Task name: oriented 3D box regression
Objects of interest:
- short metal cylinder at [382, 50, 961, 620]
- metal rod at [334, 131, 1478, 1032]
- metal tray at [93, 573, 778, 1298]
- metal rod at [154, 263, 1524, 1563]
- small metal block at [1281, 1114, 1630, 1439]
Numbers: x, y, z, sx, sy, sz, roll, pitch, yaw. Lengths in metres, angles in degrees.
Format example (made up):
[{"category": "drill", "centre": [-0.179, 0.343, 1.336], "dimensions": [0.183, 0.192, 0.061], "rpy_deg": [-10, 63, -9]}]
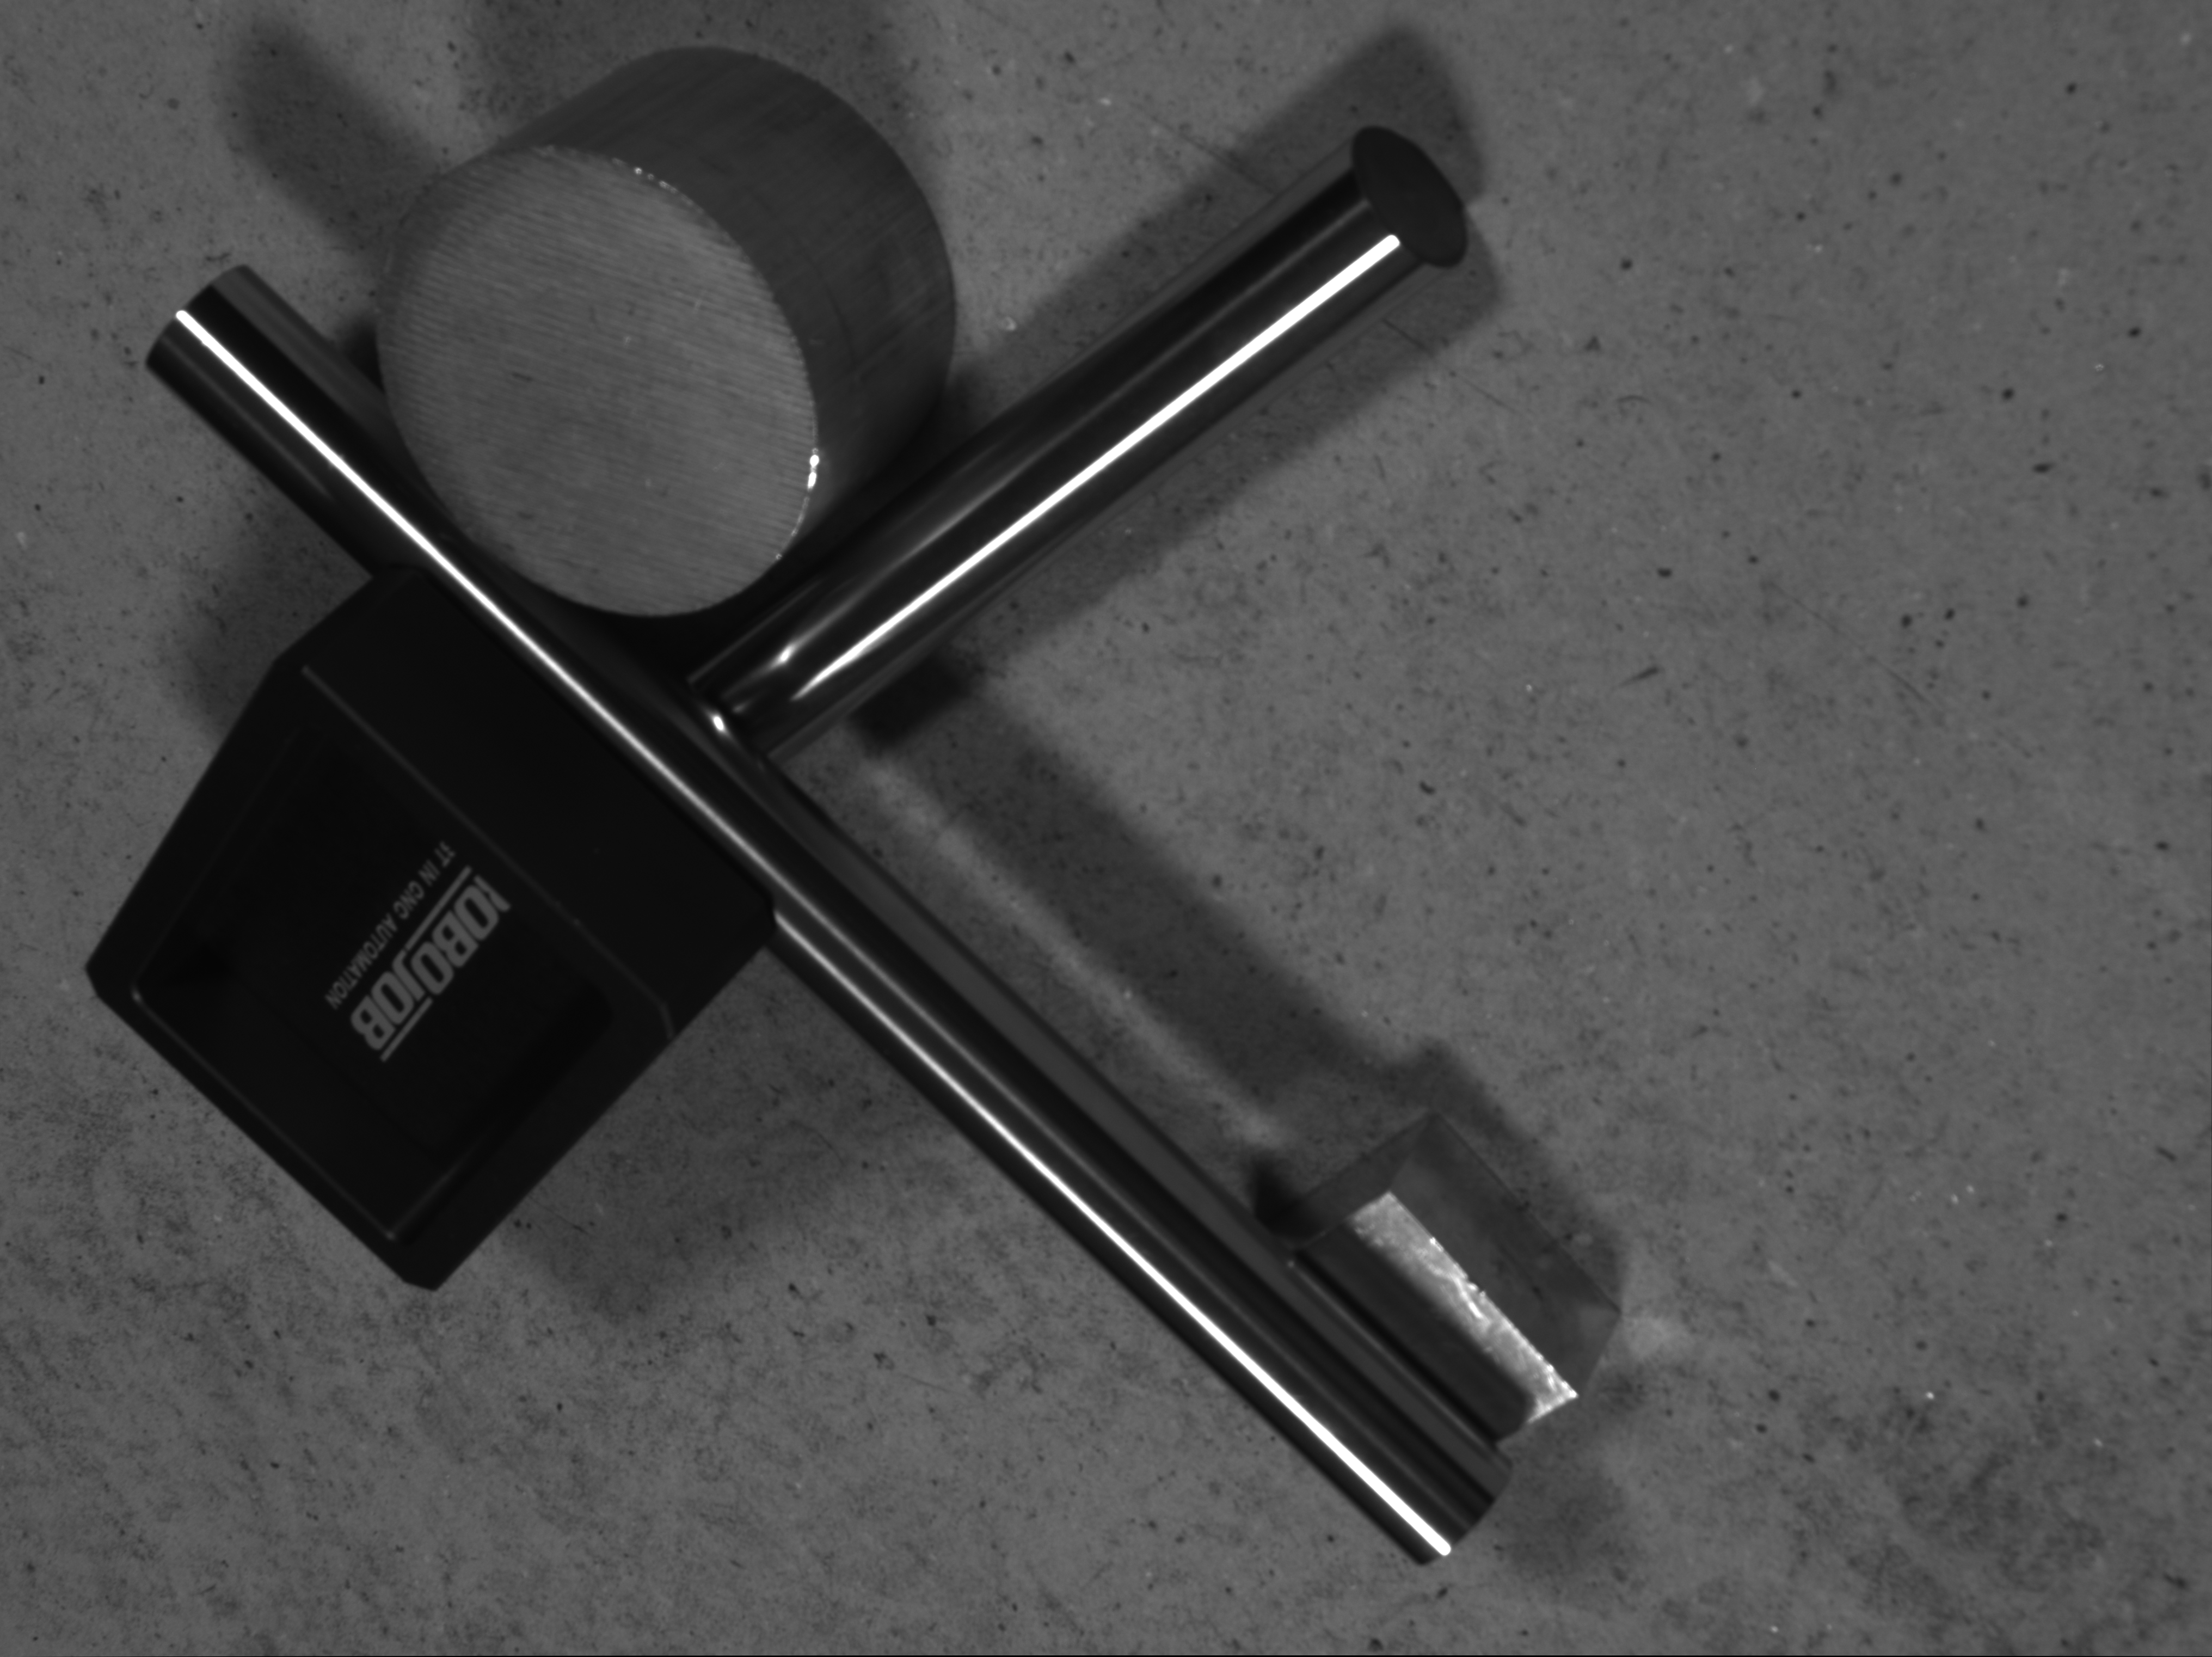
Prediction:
[{"category": "short metal cylinder", "centre": [-0.071, -0.081, 0.601], "dimensions": [0.080, 0.050, 0.080], "rpy_deg": [12, 123, 20]}, {"category": "metal rod", "centre": [-0.053, -0.028, 0.641], "dimensions": [0.299, 0.025, 0.025], "rpy_deg": [-33, 100, 37]}, {"category": "metal tray", "centre": [-0.123, 0.023, 0.654], "dimensions": [0.090, 0.030, 0.130], "rpy_deg": [44, 140, -2]}, {"category": "metal rod", "centre": [-0.045, 0.016, 0.632], "dimensions": [0.300, 0.025, 0.025], "rpy_deg": [43, 128, -3]}, {"category": "small metal block", "centre": [0.056, 0.087, 0.655], "dimensions": [0.050, 0.025, 0.050], "rpy_deg": [47, 128, -6]}]
